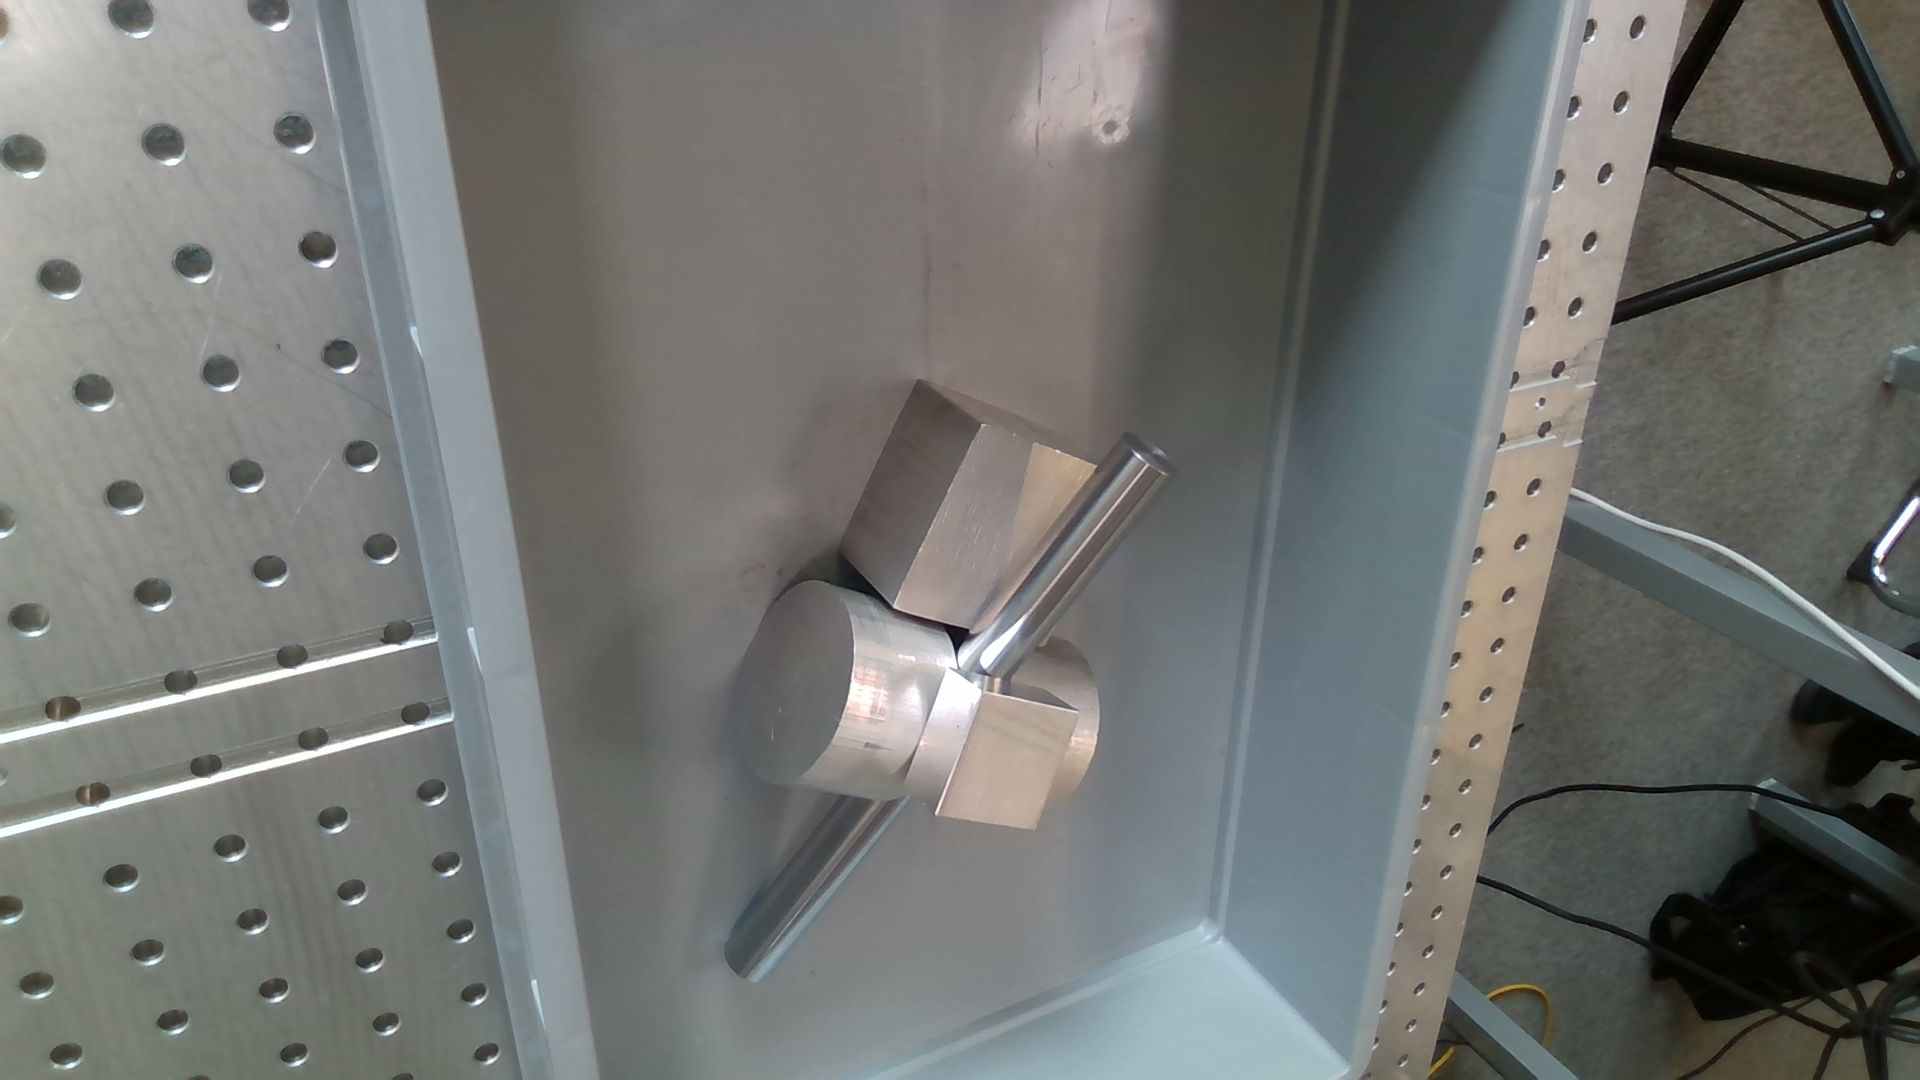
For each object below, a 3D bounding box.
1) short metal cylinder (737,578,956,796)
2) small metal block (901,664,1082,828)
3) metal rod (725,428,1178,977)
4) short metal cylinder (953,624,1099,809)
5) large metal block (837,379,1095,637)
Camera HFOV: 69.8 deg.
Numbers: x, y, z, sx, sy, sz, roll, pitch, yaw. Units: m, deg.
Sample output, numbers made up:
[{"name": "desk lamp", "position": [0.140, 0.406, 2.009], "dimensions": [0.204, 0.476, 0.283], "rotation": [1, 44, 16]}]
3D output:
[{"name": "short metal cylinder", "position": [-0.046, 0.060, 0.549], "dimensions": [0.050, 0.080, 0.080], "rotation": [18, 105, -37]}, {"name": "small metal block", "position": [0.012, 0.080, 0.529], "dimensions": [0.050, 0.025, 0.050], "rotation": [17, 97, -36]}, {"name": "metal rod", "position": [-0.013, 0.077, 0.563], "dimensions": [0.025, 0.025, 0.301], "rotation": [18, 120, -37]}, {"name": "short metal cylinder", "position": [0.014, 0.075, 0.595], "dimensions": [0.050, 0.080, 0.080], "rotation": [15, 106, -36]}, {"name": "large metal block", "position": [0.010, -0.010, 0.561], "dimensions": [0.080, 0.050, 0.080], "rotation": [17, 105, -37]}]
